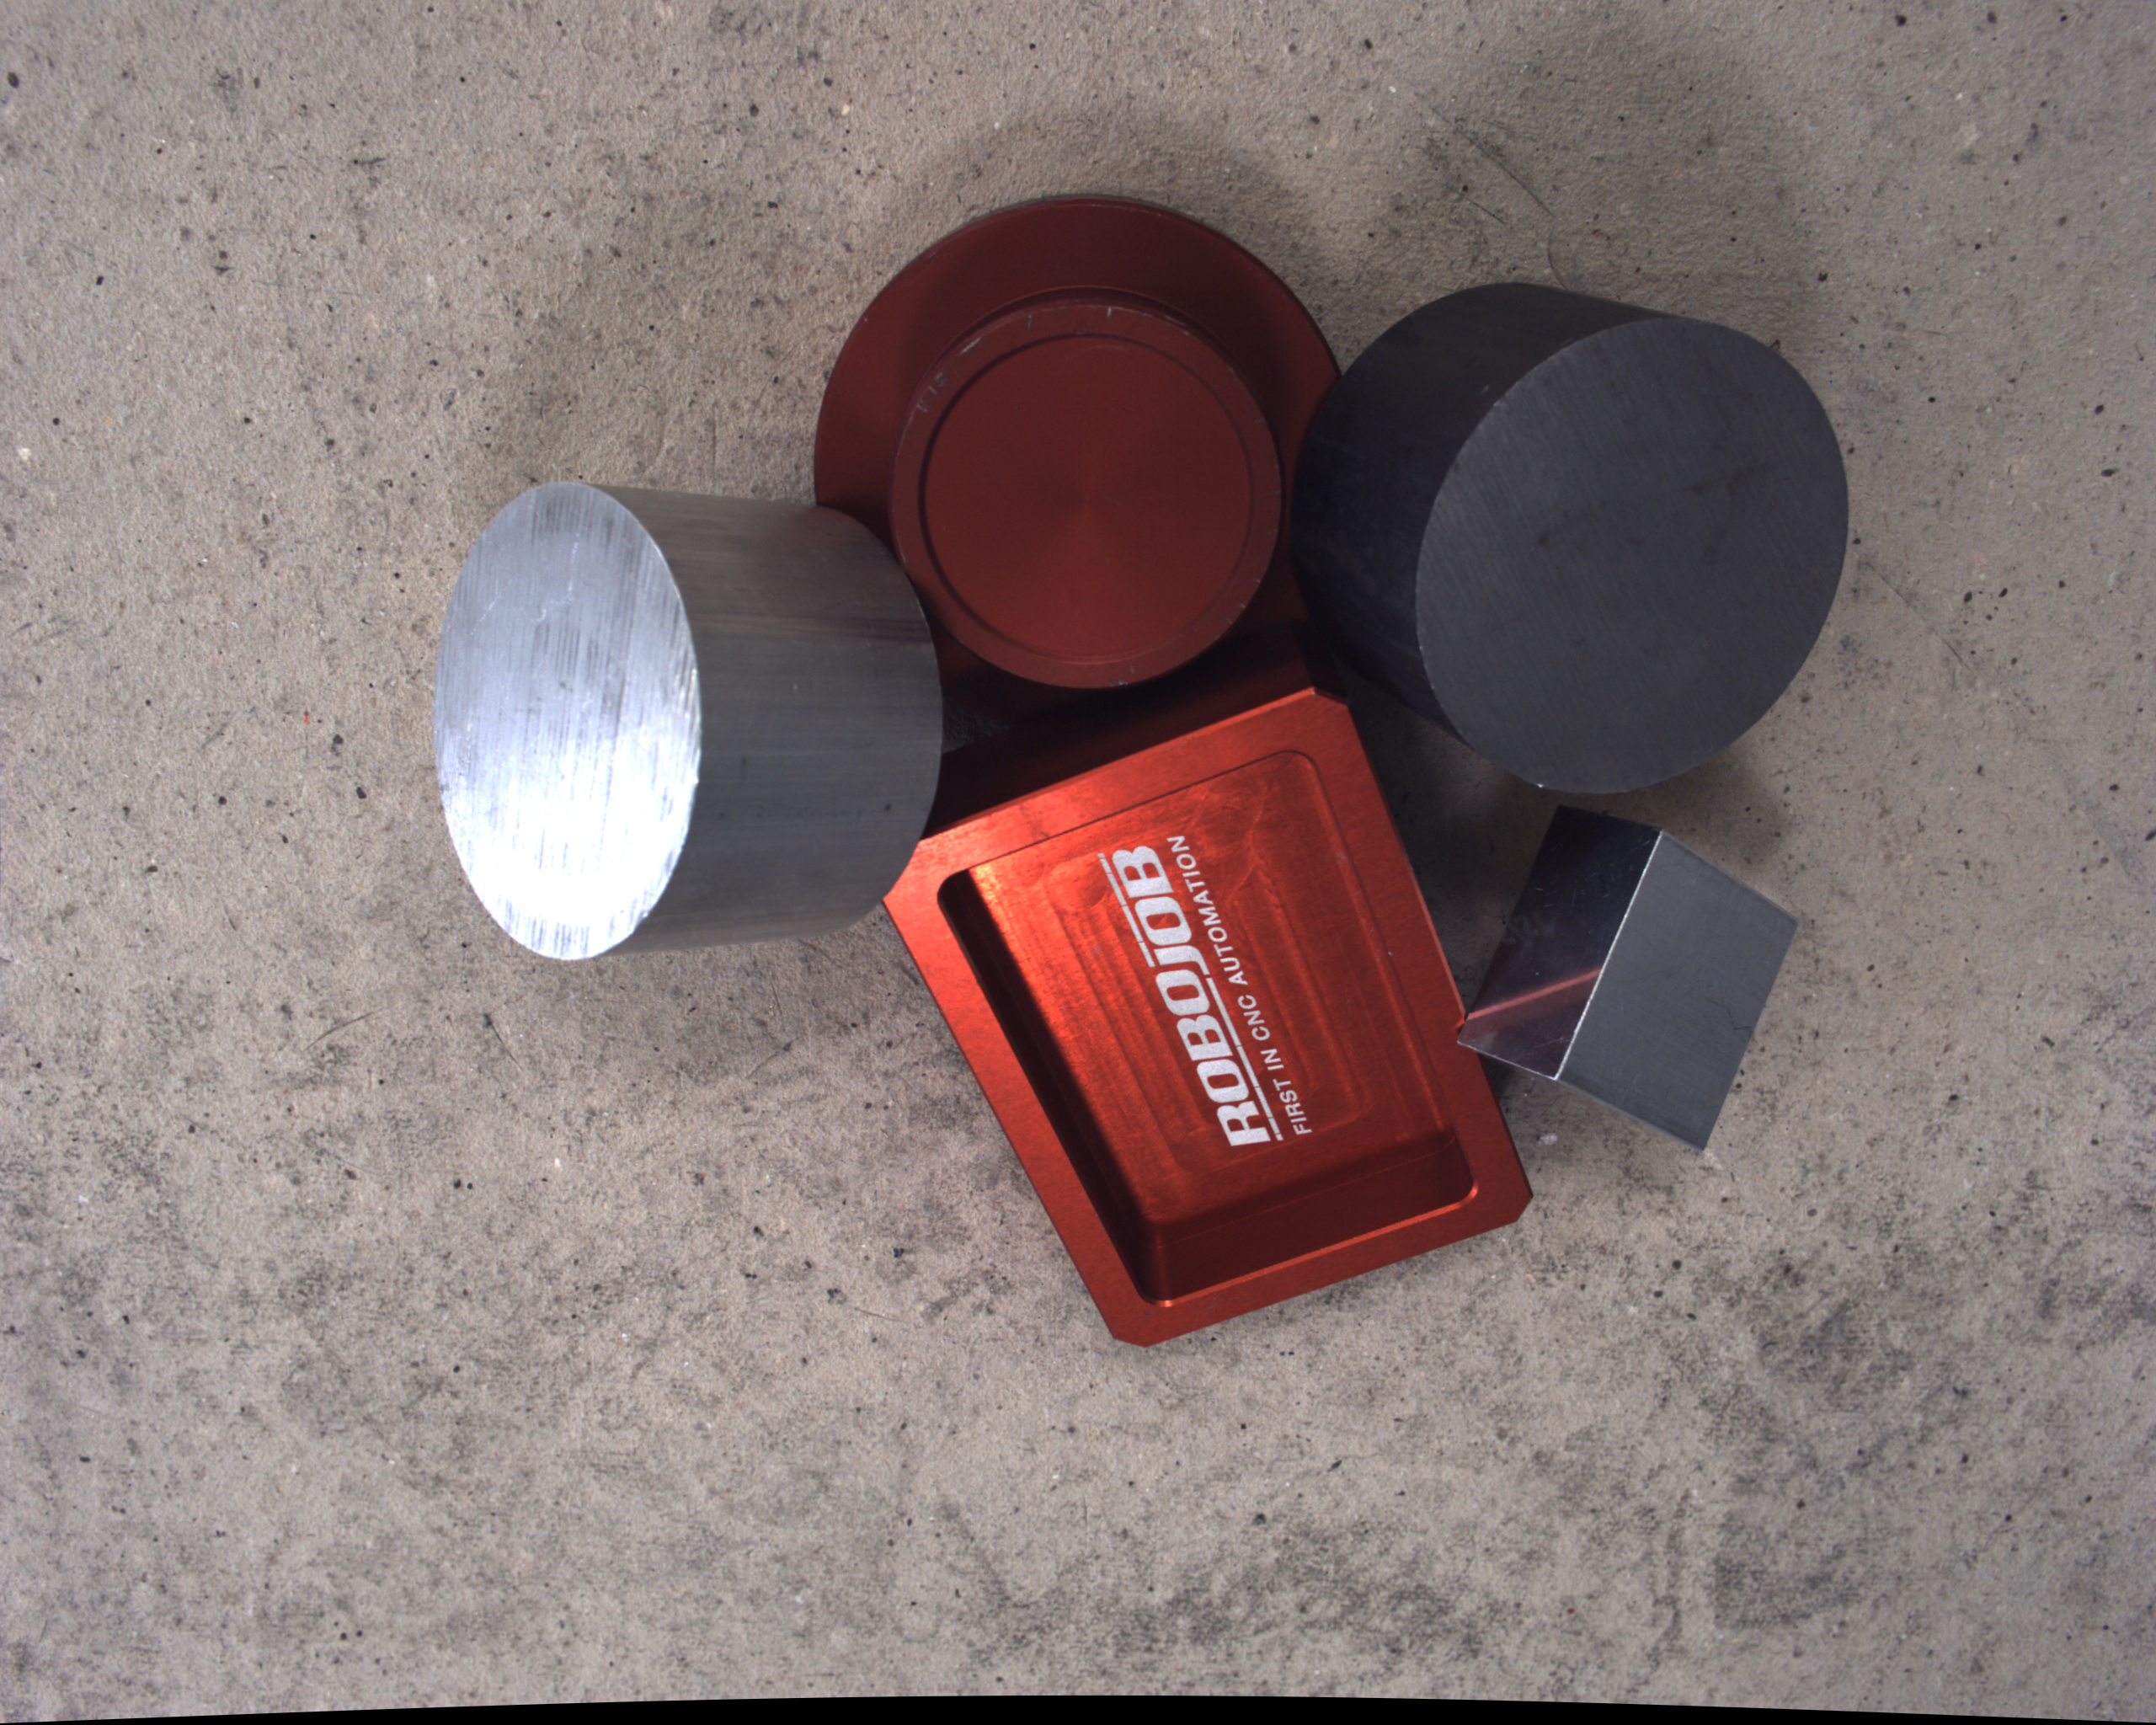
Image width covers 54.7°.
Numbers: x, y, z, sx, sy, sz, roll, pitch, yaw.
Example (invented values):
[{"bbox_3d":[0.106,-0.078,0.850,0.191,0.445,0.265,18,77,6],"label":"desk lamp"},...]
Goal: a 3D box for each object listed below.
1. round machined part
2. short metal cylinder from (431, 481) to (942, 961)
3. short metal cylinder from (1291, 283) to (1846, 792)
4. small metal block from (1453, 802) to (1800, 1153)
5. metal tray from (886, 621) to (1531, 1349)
[{"bbox_3d":[0.001,-0.069,0.377,0.099,0.042,0.097,0,110,0],"label":"round machined part"},{"bbox_3d":[-0.070,-0.024,0.365,0.050,0.080,0.079,-4,118,-46],"label":"short metal cylinder"},{"bbox_3d":[0.085,-0.058,0.366,0.081,0.050,0.079,-7,113,-17],"label":"short metal cylinder"},{"bbox_3d":[0.106,0.022,0.401,0.050,0.025,0.050,27,85,-37],"label":"small metal block"},{"bbox_3d":[0.026,0.028,0.407,0.090,0.030,0.129,-21,119,7],"label":"metal tray"}]
